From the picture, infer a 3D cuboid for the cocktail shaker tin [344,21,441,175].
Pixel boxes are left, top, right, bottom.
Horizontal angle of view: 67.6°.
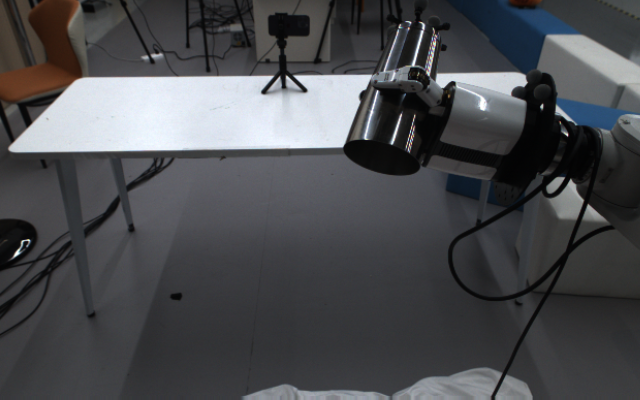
[{"bbox_3d":[0.098,-0.124,0.585,0.093,0.093,0.170,13,74,15],"label":"cocktail shaker tin"}]
